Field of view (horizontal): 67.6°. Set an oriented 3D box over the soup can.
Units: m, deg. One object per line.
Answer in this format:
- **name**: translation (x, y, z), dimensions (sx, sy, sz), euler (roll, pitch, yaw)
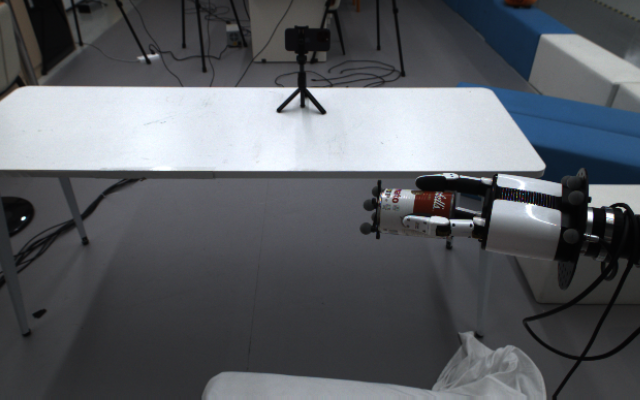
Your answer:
- **soup can**: translation (0.141, 0.019, 0.693), dimensions (0.101, 0.067, 0.067), euler (4, 34, 18)
